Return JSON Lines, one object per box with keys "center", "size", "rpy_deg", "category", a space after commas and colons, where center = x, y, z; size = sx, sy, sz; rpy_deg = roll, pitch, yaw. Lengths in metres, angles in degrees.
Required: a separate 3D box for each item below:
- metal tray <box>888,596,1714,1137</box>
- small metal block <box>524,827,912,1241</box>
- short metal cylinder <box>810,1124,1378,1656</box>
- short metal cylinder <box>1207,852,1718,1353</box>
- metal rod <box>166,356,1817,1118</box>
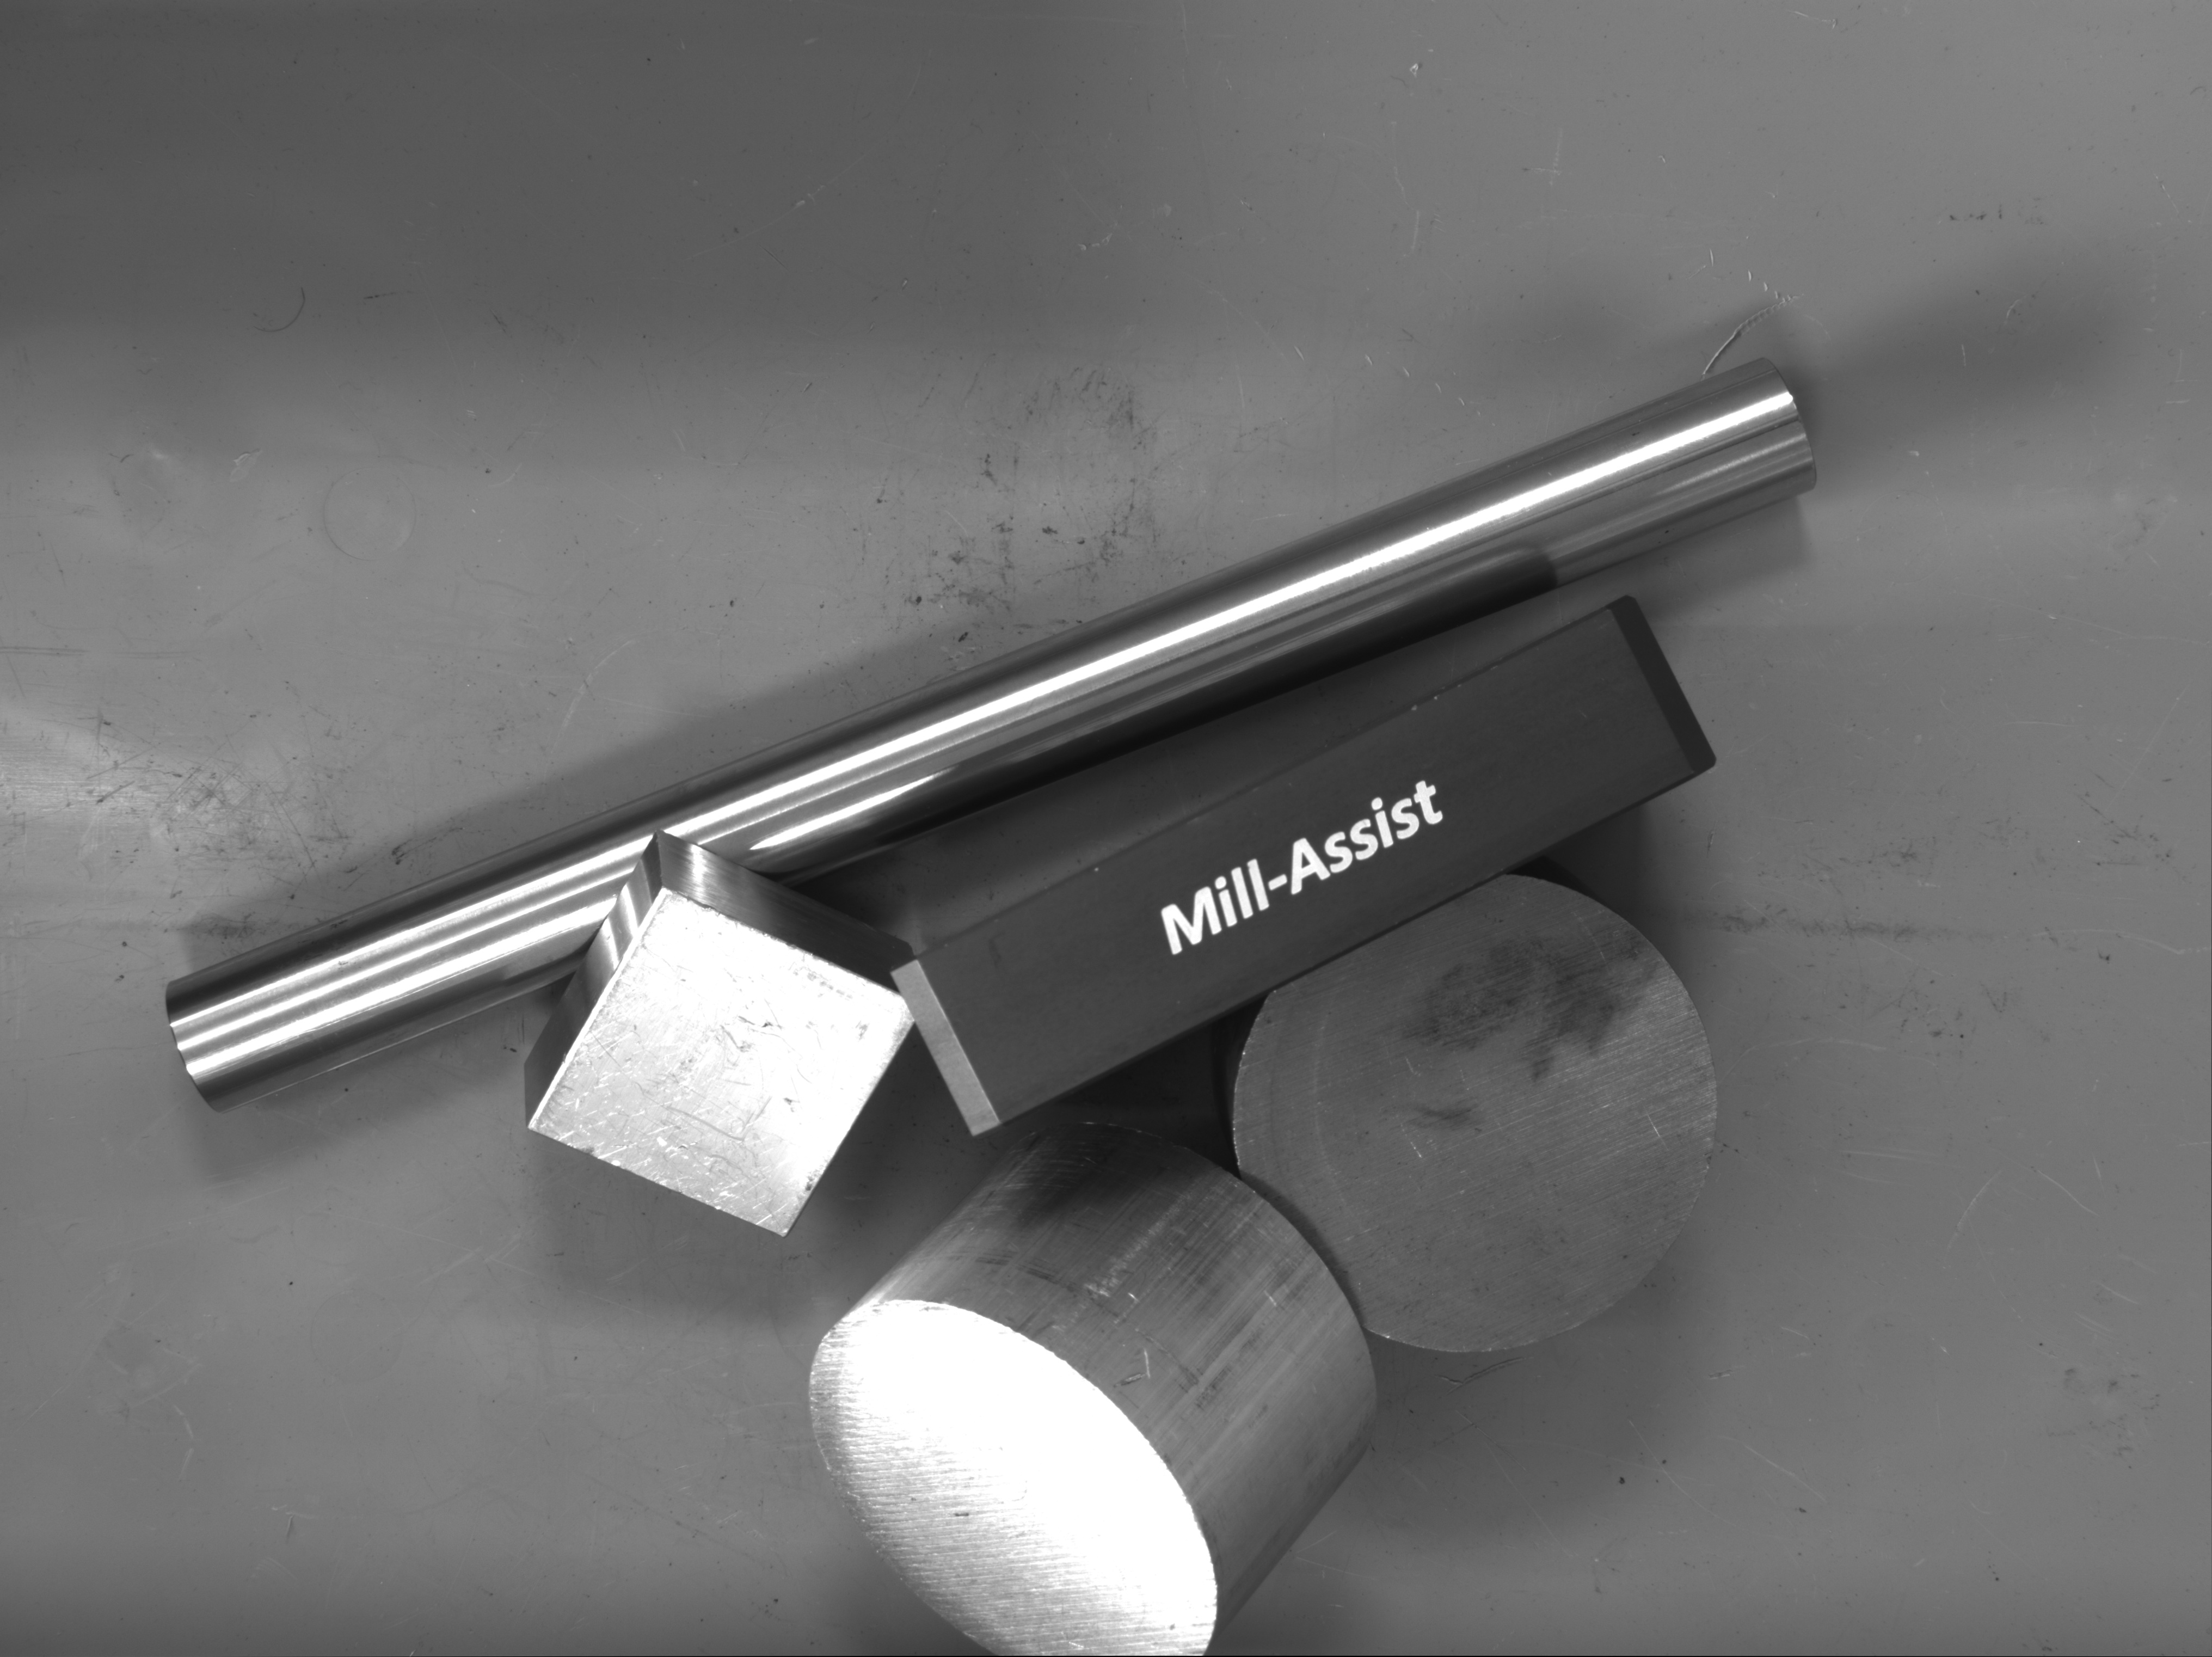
{"center": [0.031, 0.006, 0.612], "size": [0.130, 0.090, 0.030], "rpy_deg": [-27, 90, 0], "category": "metal tray"}
{"center": [-0.066, 0.036, 0.632], "size": [0.050, 0.025, 0.050], "rpy_deg": [26, 106, -19], "category": "small metal block"}
{"center": [-0.002, 0.096, 0.610], "size": [0.080, 0.080, 0.050], "rpy_deg": [47, 49, 0], "category": "short metal cylinder"}
{"center": [0.059, 0.044, 0.627], "size": [0.080, 0.050, 0.080], "rpy_deg": [-1, 98, -4], "category": "short metal cylinder"}
{"center": [-0.020, -0.016, 0.645], "size": [0.300, 0.025, 0.025], "rpy_deg": [-22, 90, 0], "category": "metal rod"}
